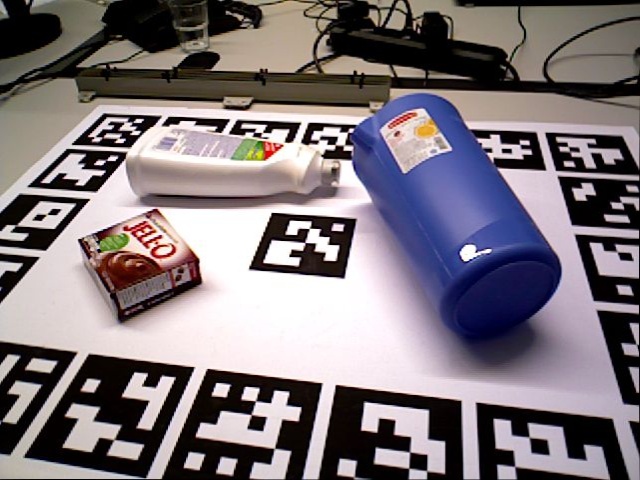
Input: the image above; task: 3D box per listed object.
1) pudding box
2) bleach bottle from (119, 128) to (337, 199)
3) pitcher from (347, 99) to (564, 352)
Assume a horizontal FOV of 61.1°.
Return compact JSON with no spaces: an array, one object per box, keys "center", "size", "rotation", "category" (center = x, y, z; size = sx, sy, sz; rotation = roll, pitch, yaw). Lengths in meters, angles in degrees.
[{"center":[-0.194,0.019,0.552],"size":[0.088,0.039,0.113],"rotation":[-21,45,-28],"category":"pudding box"},{"center":[-0.106,-0.092,0.663],"size":[0.250,0.069,0.100],"rotation":[4,46,6],"category":"bleach bottle"},{"center":[0.131,-0.014,0.529],"size":[0.187,0.136,0.239],"rotation":[17,36,-32],"category":"pitcher"}]
